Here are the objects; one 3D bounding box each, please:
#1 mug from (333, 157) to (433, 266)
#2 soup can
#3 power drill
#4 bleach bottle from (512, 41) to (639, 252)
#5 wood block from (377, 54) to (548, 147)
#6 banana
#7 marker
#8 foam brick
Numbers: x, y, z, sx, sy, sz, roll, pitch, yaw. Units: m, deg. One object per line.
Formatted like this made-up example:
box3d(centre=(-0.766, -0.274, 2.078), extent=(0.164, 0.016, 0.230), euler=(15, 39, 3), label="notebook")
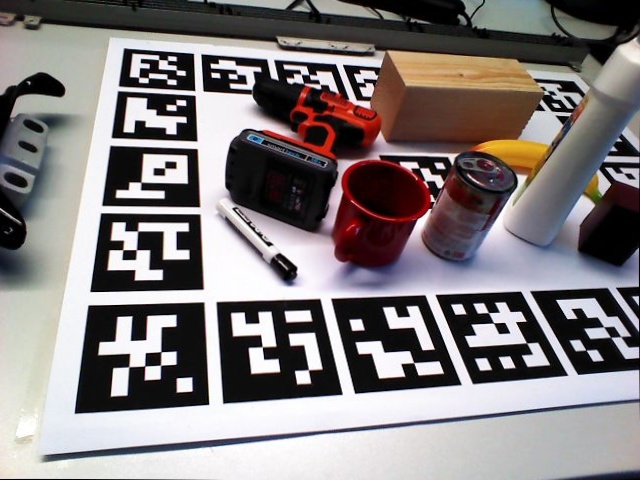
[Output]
box3d(centre=(0.053, -0.020, 0.530), extent=(0.093, 0.082, 0.116), euler=(33, 52, 14), label="mug")
box3d(centre=(0.160, -0.035, 0.546), extent=(0.068, 0.102, 0.067), euler=(7, 43, -7), label="soup can")
box3d(centre=(-0.021, -0.116, 0.627), extent=(0.185, 0.058, 0.185), euler=(23, 46, 4), label="power drill")
box3d(centre=(0.287, -0.105, 0.546), extent=(0.068, 0.252, 0.102), euler=(21, 46, 7), label="bleach bottle")
box3d(centre=(0.196, -0.192, 0.718), extent=(0.206, 0.091, 0.089), euler=(-2, 49, -14), label="wood block")
box3d(centre=(0.286, -0.112, 0.695), extent=(0.197, 0.039, 0.074), euler=(12, 60, -4), label="banana")
box3d(centre=(-0.065, 0.006, 0.526), extent=(0.019, 0.020, 0.121), euler=(-28, 60, -30), label="marker")
box3d(centre=(0.357, -0.013, 0.598), extent=(0.053, 0.078, 0.051), euler=(23, 45, 11), label="foam brick")
